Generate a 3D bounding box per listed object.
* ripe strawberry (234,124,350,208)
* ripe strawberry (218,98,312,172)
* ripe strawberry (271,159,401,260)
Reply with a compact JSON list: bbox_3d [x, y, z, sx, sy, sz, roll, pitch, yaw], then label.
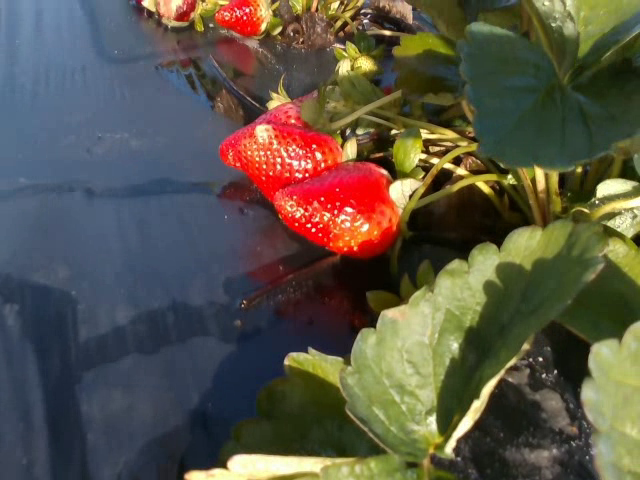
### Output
[{"bbox_3d":[-0.010,-0.029,0.207,0.039,0.036,0.030,29,28,-32],"label":"ripe strawberry"},{"bbox_3d":[-0.018,-0.040,0.233,0.045,0.023,0.032,-20,39,-10],"label":"ripe strawberry"},{"bbox_3d":[0.001,-0.010,0.188,0.041,0.034,0.035,11,26,-33],"label":"ripe strawberry"}]
